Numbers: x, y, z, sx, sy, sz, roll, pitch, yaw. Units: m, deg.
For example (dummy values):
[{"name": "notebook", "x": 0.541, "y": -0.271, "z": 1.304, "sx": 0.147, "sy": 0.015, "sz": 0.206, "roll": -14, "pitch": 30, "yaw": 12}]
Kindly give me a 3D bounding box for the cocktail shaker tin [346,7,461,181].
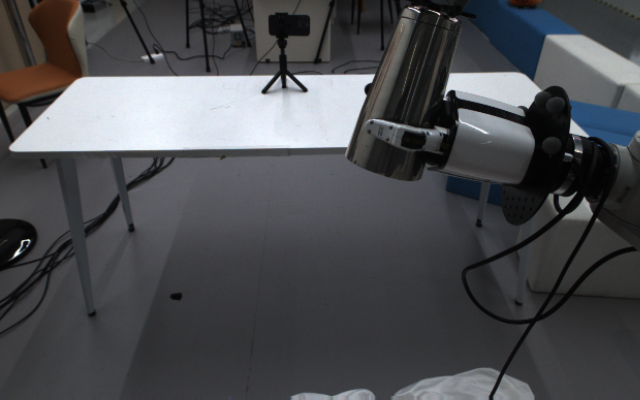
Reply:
[{"name": "cocktail shaker tin", "x": 0.097, "y": -0.117, "z": 0.536, "sx": 0.093, "sy": 0.170, "sz": 0.093, "roll": 14, "pitch": 20, "yaw": -5}]
